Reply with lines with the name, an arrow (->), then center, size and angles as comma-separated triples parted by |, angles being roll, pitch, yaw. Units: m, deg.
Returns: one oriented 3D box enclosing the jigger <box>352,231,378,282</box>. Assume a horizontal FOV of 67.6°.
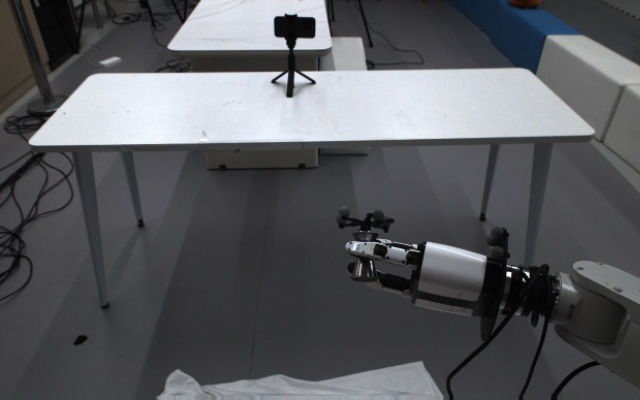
jigger -> 0.065, 0.082, 0.711 | 0.043, 0.043, 0.071 | 3, 72, 1
